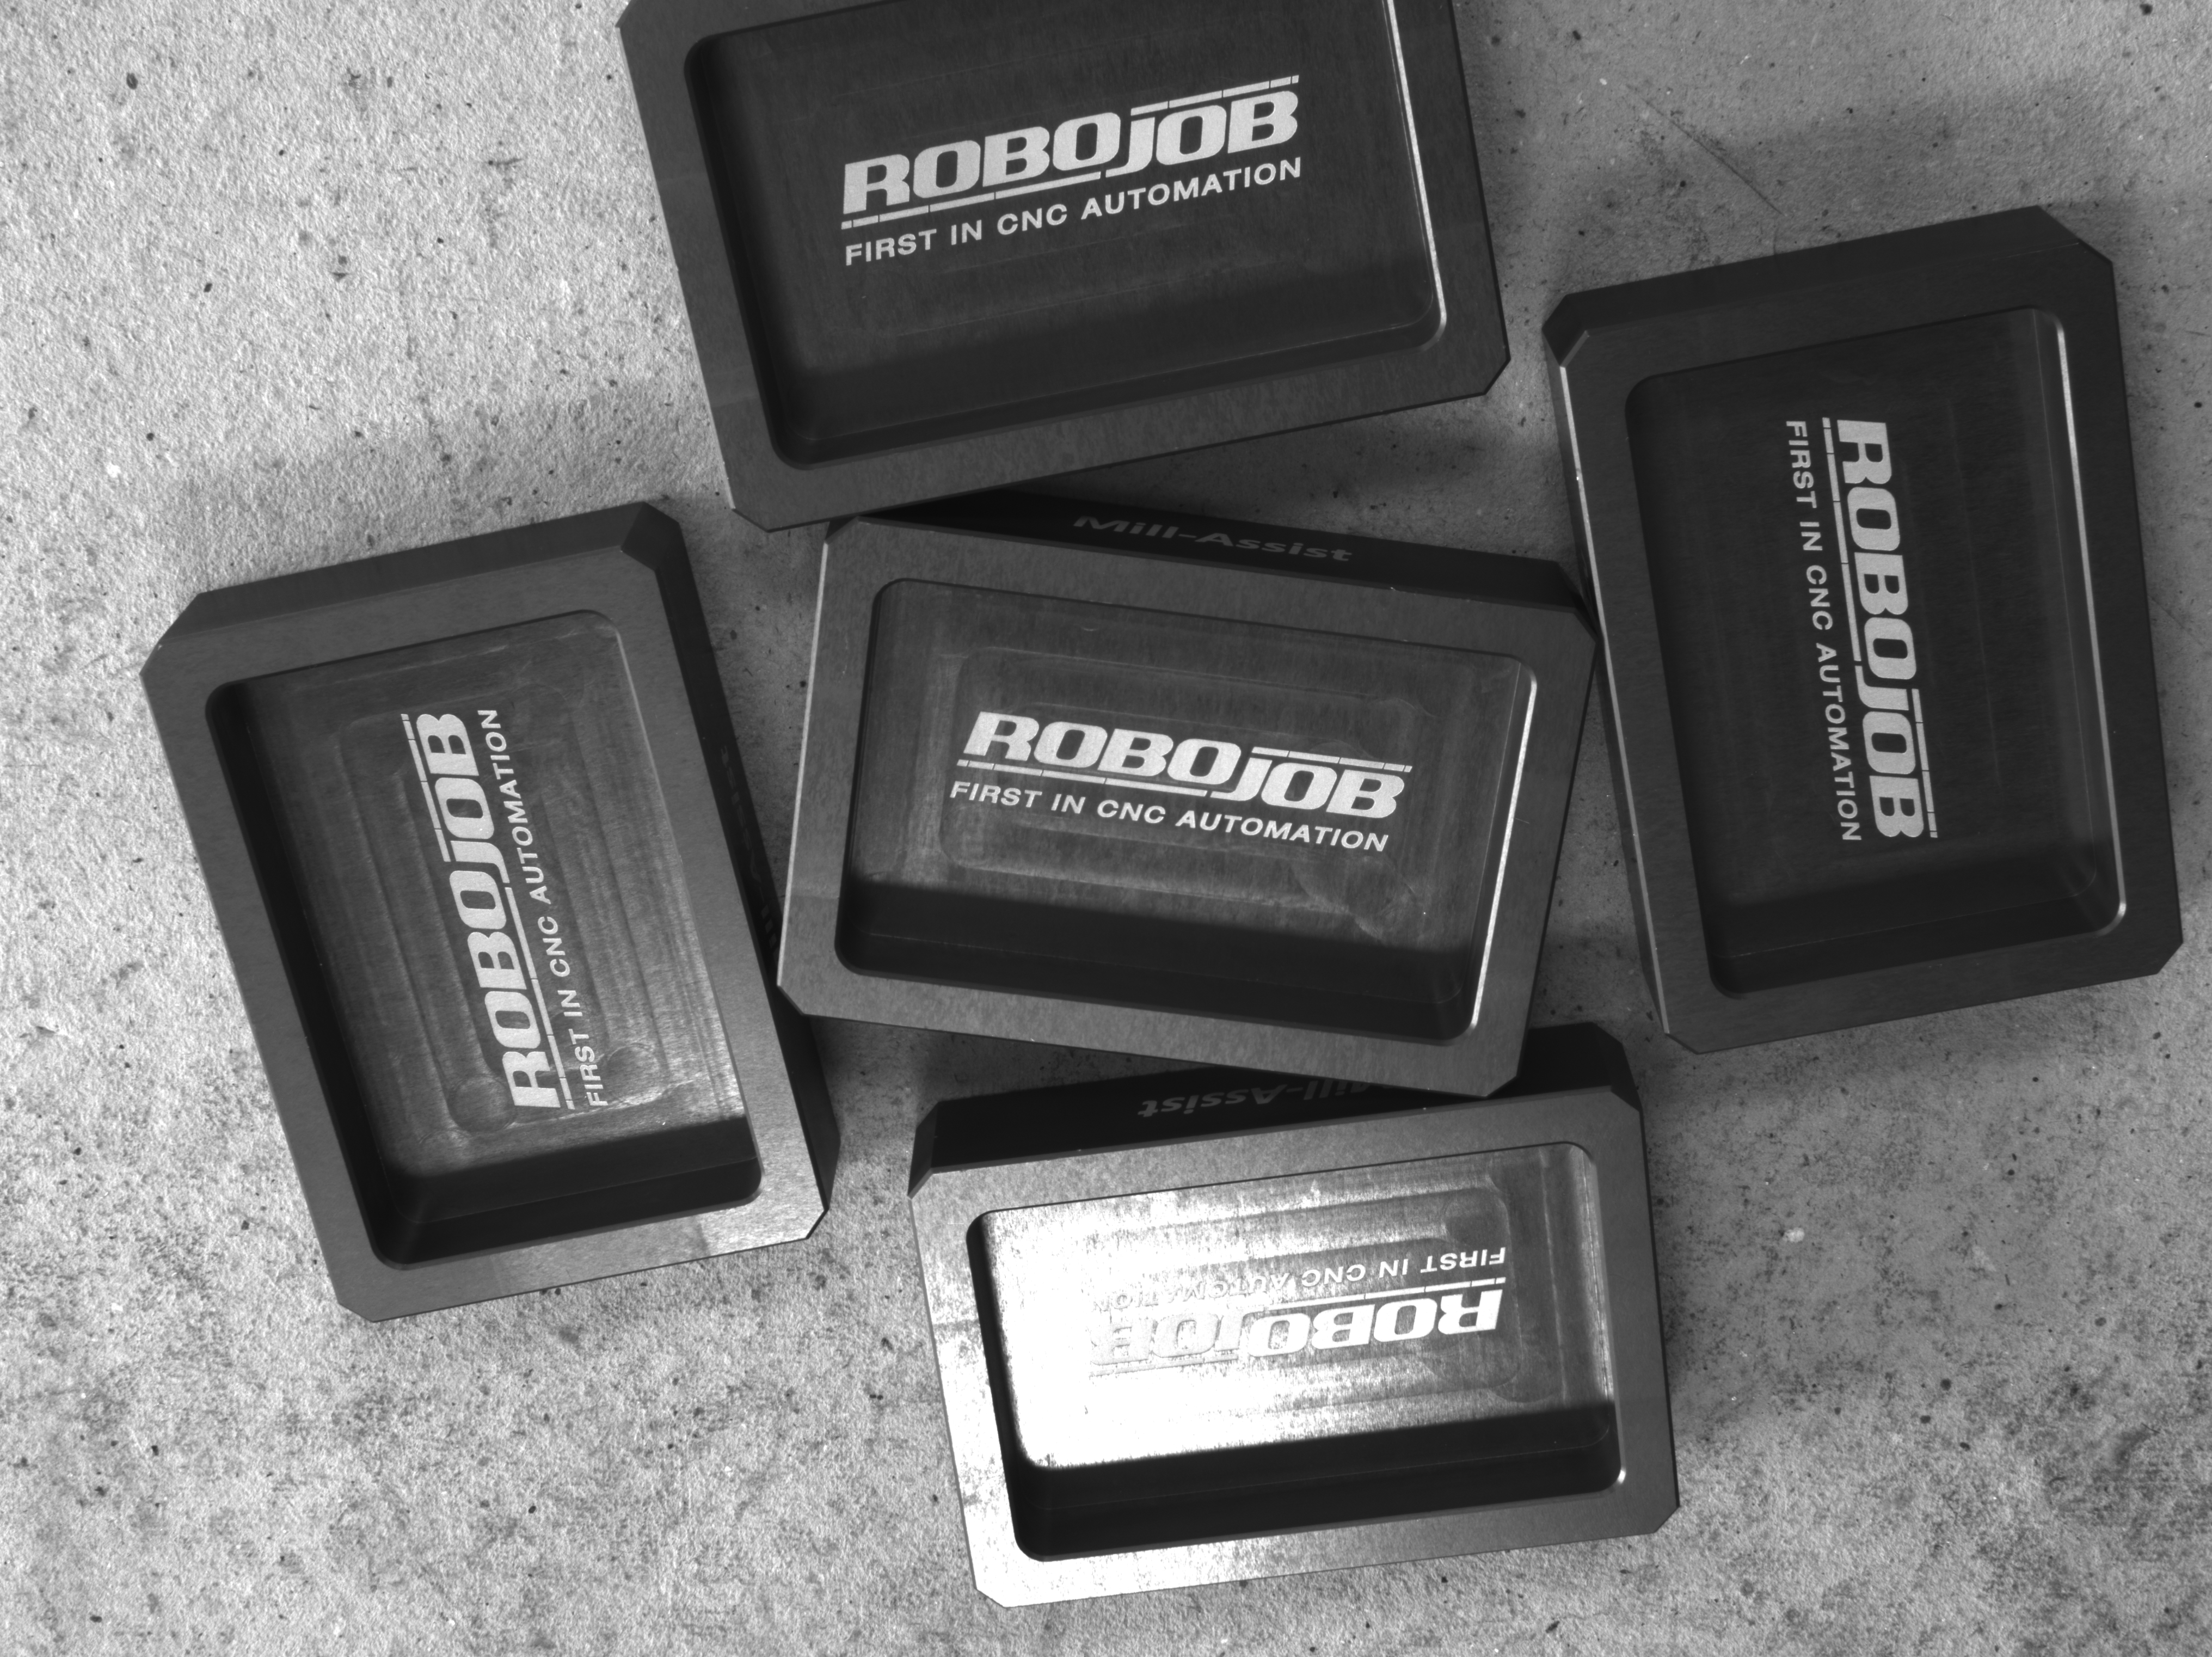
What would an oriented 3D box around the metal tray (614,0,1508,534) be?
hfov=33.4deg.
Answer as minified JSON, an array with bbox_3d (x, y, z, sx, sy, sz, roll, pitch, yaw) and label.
[{"bbox_3d":[-0.006,-0.106,0.603,0.130,0.030,0.090,-10,110,4],"label":"metal tray"}]

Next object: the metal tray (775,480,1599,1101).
[{"bbox_3d":[0.013,-0.007,0.639,0.130,0.030,0.090,7,112,-2],"label":"metal tray"}]

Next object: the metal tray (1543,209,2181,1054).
[{"bbox_3d":[0.130,-0.032,0.630,0.090,0.030,0.130,-10,110,5],"label":"metal tray"}]

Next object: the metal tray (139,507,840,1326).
[{"bbox_3d":[-0.105,0.017,0.647,0.090,0.030,0.130,-11,110,4],"label":"metal tray"}]

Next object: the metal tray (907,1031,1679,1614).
[{"bbox_3d":[0.035,0.091,0.674,0.130,0.030,0.090,-7,110,3],"label":"metal tray"}]
